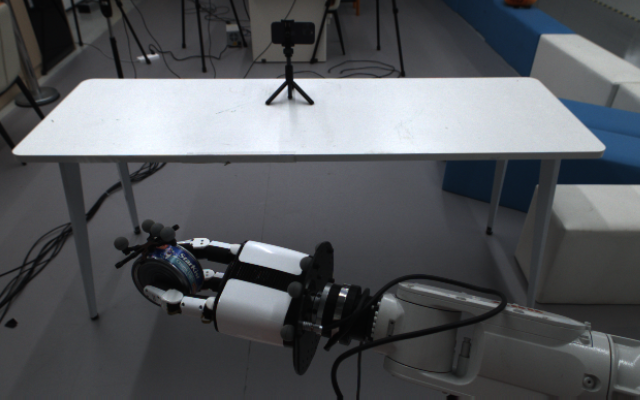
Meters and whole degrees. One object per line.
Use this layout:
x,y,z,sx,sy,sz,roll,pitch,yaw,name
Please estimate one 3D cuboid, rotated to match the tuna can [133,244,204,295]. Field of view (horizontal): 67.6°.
-0.190,0.103,0.612,0.085,0.085,0.034,11,34,13,tuna can
